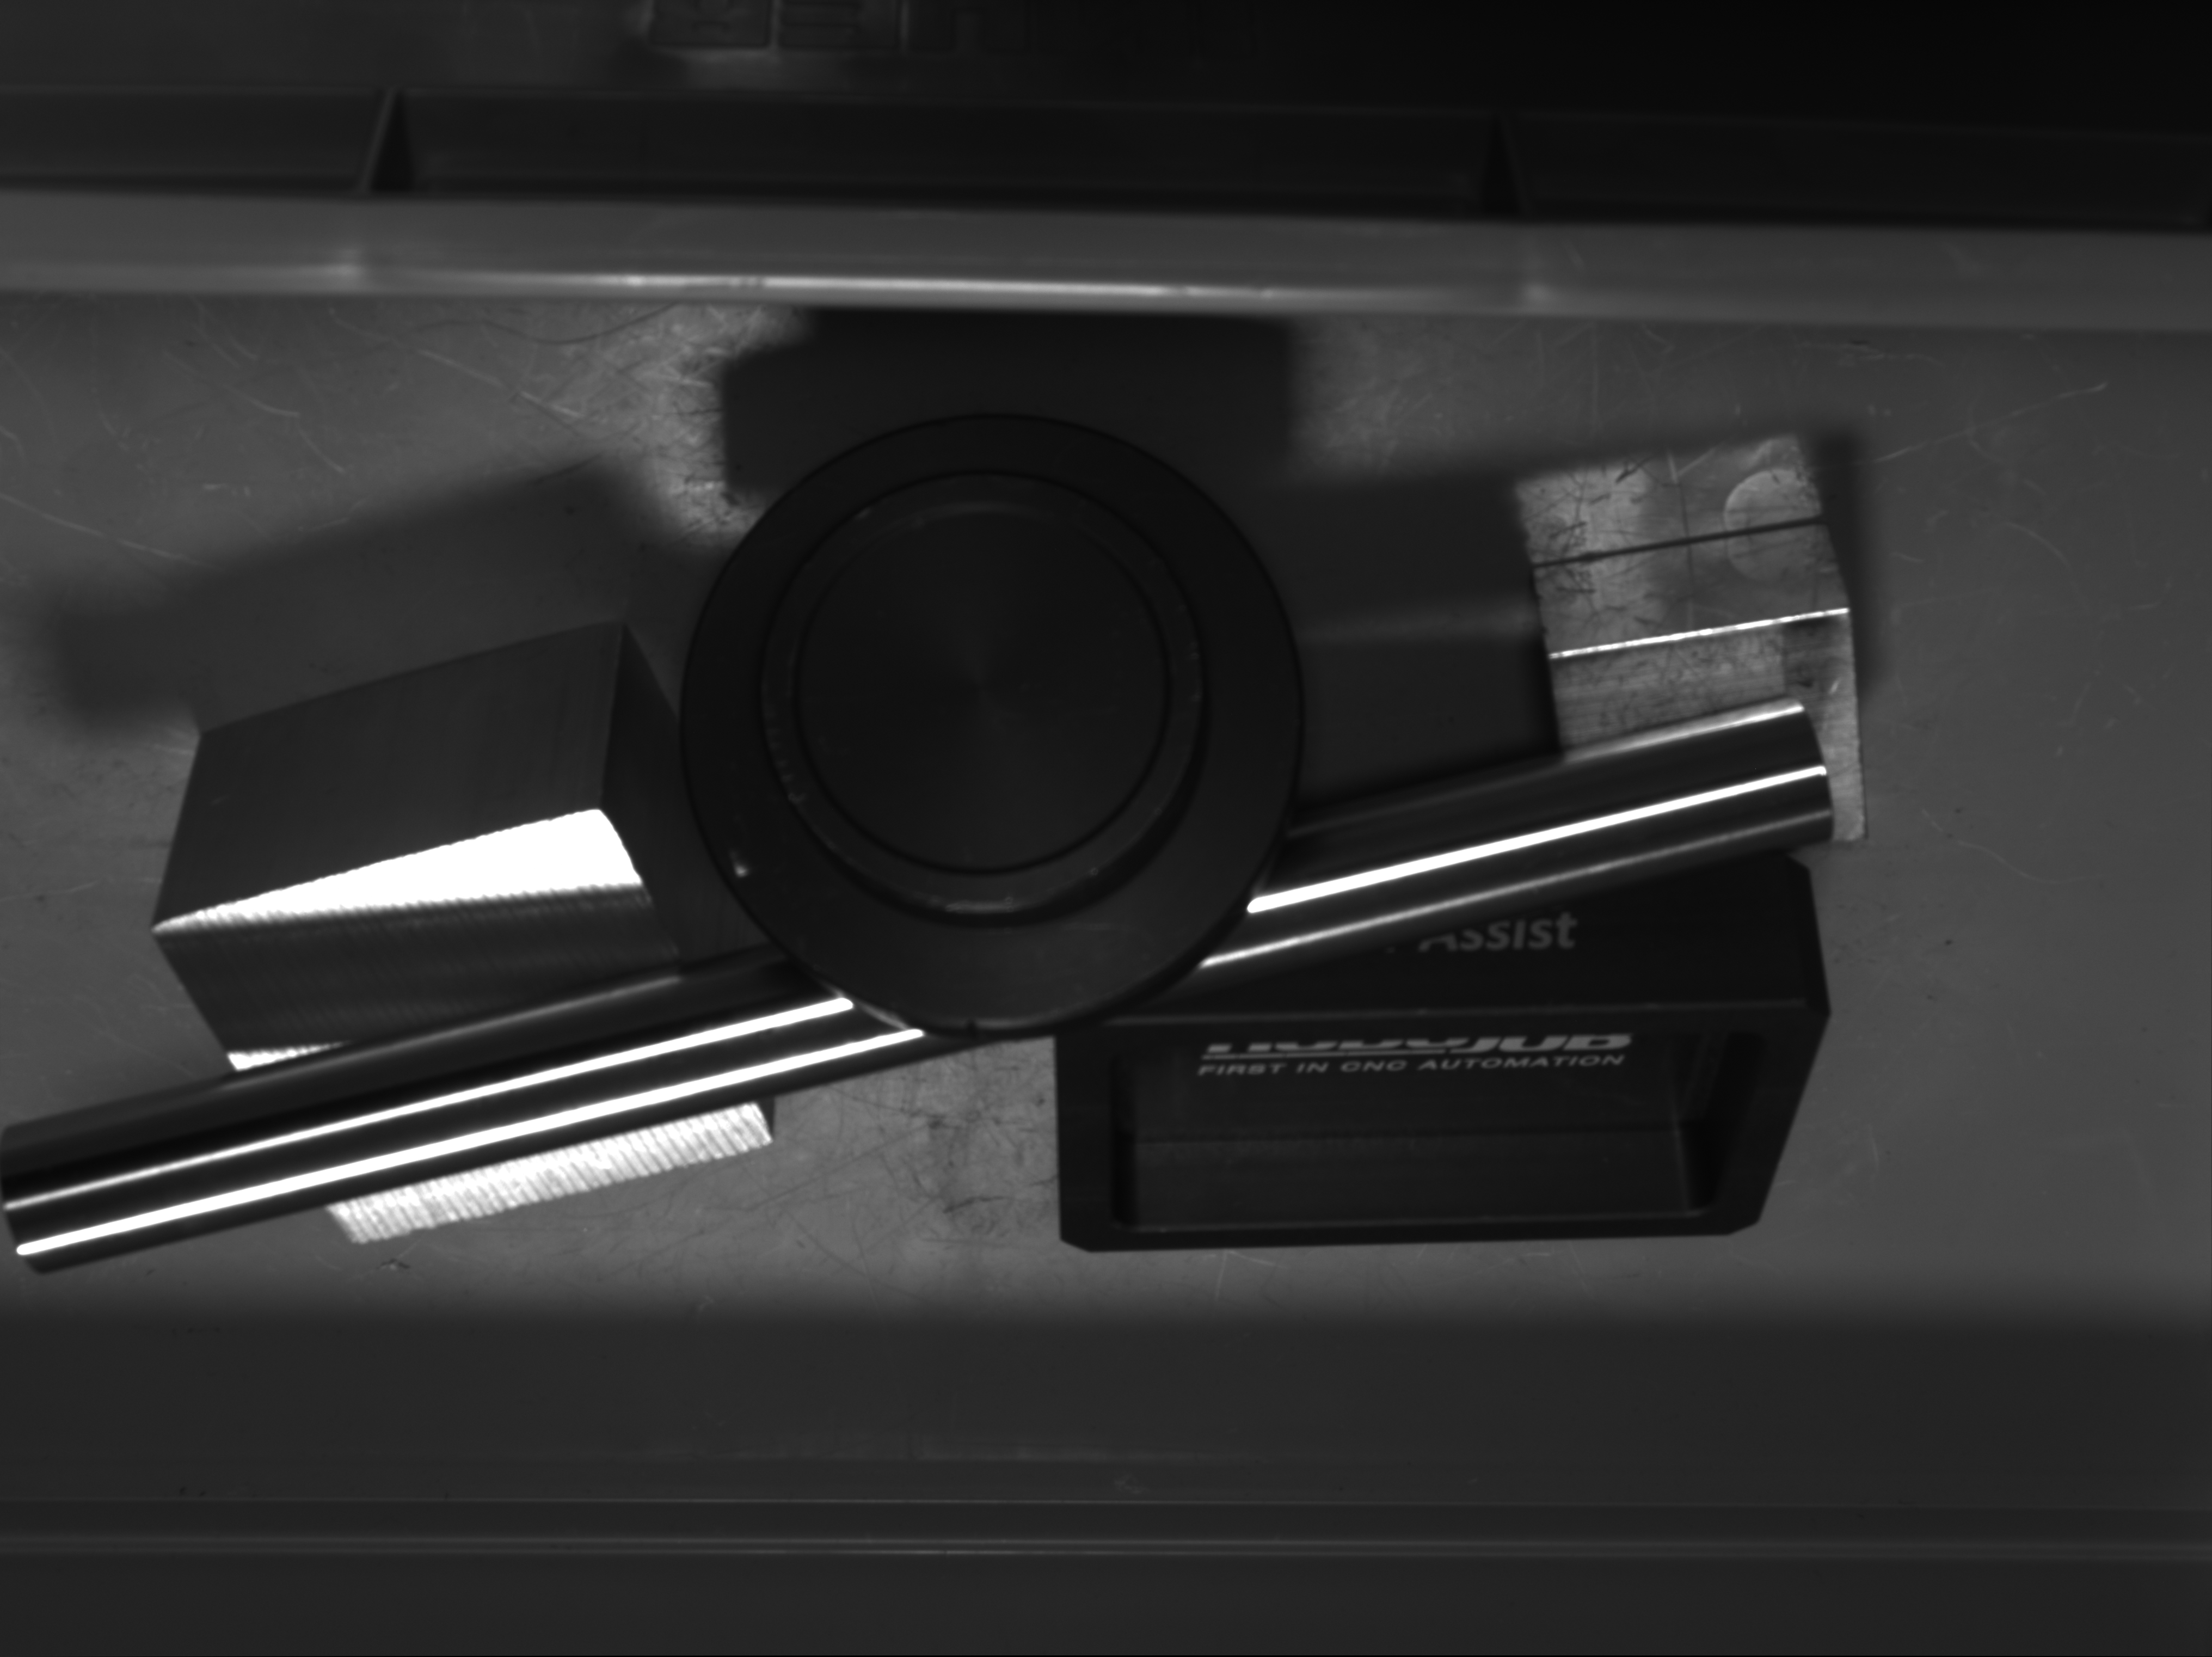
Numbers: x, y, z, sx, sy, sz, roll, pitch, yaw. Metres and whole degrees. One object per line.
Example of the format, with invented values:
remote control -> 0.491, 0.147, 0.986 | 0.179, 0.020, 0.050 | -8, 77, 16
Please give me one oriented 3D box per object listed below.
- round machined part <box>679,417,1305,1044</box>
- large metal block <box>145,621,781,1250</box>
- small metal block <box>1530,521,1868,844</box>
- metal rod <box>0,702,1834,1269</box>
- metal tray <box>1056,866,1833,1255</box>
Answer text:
round machined part -> -0.018, -0.017, 0.572 | 0.098, 0.098, 0.042 | -4, 170, 1
large metal block -> -0.107, 0.020, 0.632 | 0.080, 0.050, 0.080 | -14, 129, 10
small metal block -> 0.101, -0.021, 0.622 | 0.050, 0.025, 0.050 | -9, 130, 6
metal rod -> -0.031, 0.026, 0.599 | 0.300, 0.025, 0.025 | -13, 129, 0
metal tray -> 0.056, 0.042, 0.653 | 0.130, 0.030, 0.090 | -2, 149, -1
